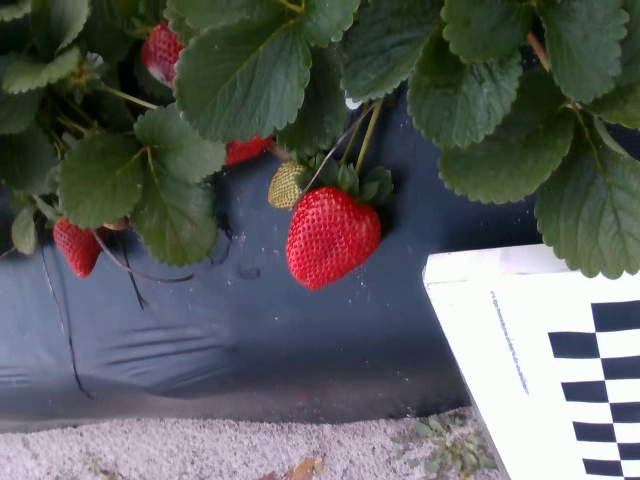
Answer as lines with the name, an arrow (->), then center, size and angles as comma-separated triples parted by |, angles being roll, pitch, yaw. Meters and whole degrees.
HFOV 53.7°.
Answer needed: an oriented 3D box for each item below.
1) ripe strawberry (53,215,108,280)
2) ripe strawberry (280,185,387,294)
ripe strawberry -> -0.175, 0.003, 0.446 | 0.043, 0.052, 0.041 | -21, -10, 42
ripe strawberry -> 0.004, 0.003, 0.358 | 0.056, 0.065, 0.057 | 28, -24, -11
